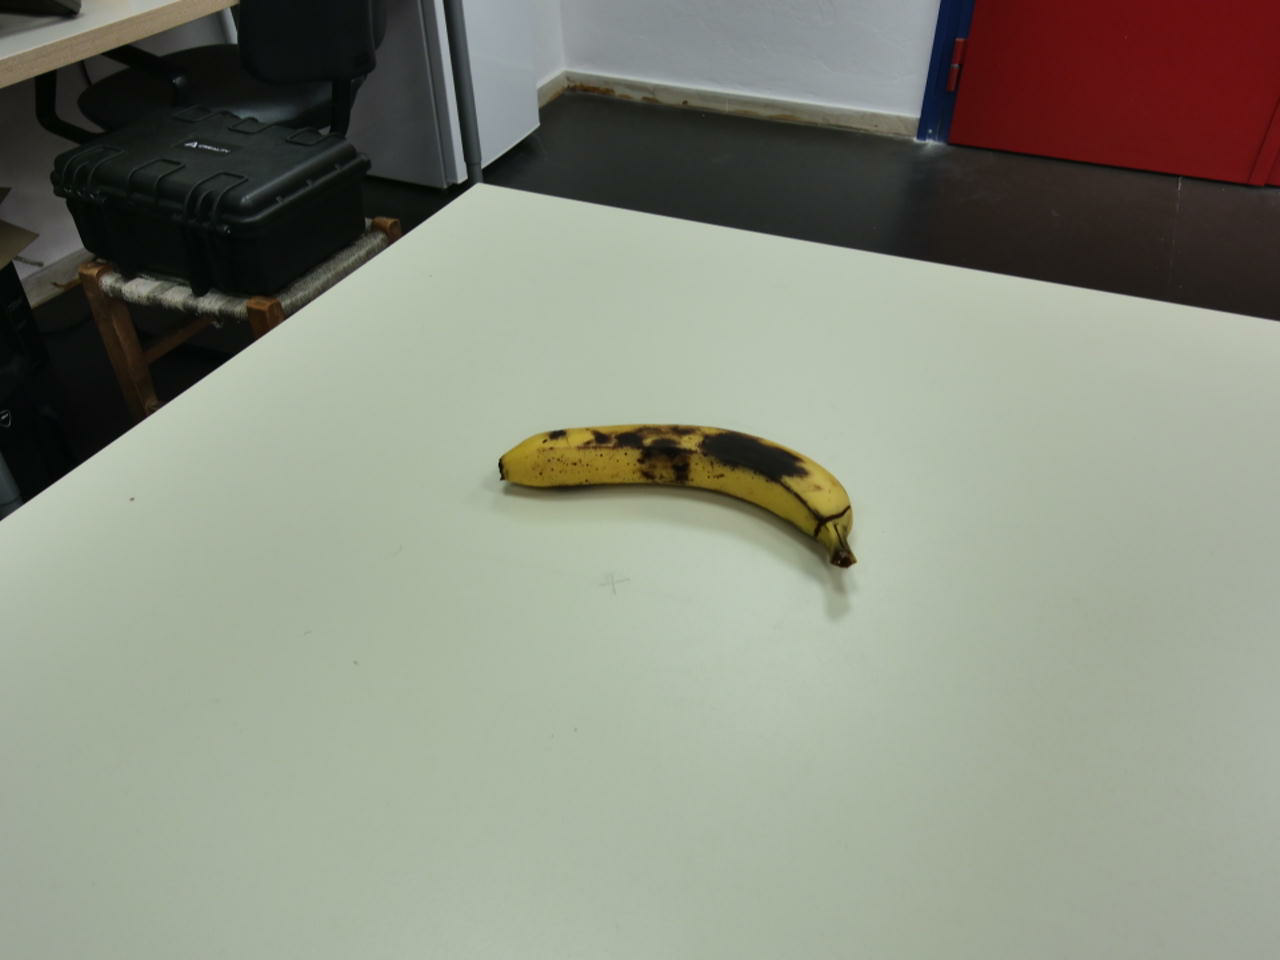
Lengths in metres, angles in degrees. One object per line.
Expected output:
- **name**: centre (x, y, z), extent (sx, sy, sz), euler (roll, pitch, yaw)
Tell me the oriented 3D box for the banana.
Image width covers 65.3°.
- **banana**: centre (0.029, -0.003, 0.596), extent (0.222, 0.037, 0.084), euler (16, 41, 20)
